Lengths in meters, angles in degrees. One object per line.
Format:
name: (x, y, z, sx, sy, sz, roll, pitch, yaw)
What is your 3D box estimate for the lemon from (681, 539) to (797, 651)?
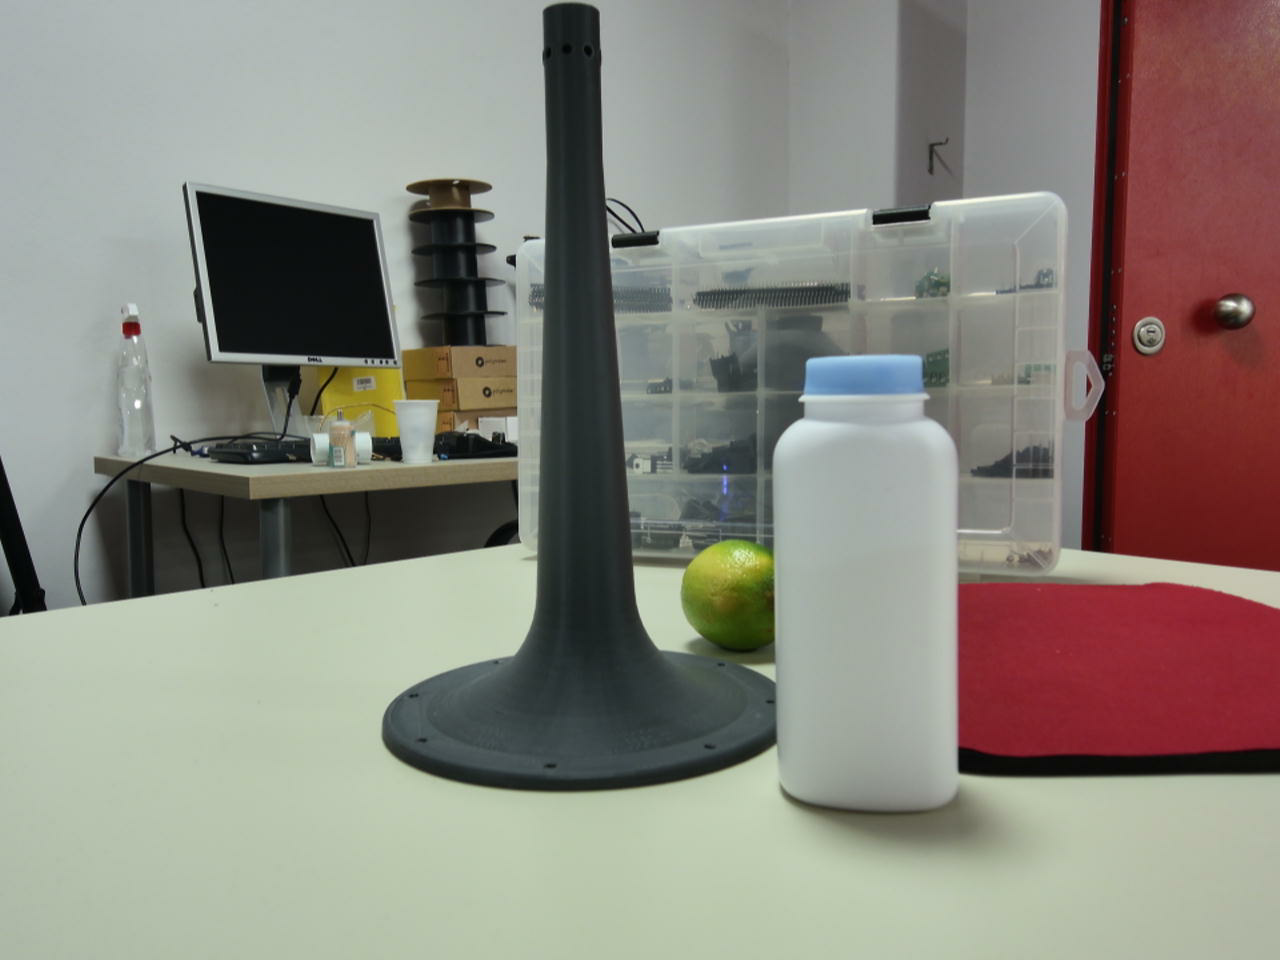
lemon: (0.046, 0.054, 0.474, 0.054, 0.050, 0.055, 0, 3, 9)
